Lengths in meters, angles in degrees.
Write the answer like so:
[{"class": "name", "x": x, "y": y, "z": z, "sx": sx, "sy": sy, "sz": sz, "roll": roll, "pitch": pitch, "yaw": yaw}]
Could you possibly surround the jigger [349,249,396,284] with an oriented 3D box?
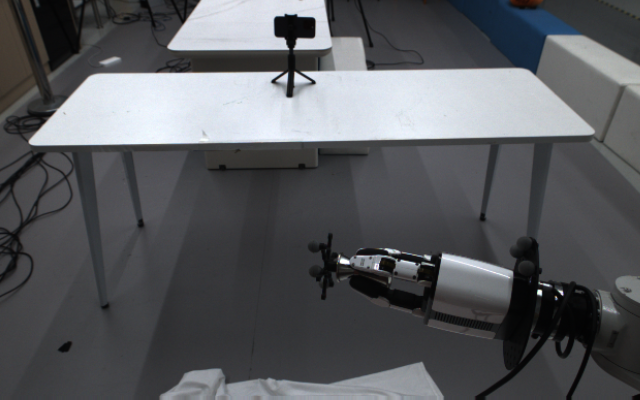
[{"class": "jigger", "x": 0.066, "y": 0.087, "z": 0.634, "sx": 0.071, "sy": 0.043, "sz": 0.043, "roll": 2, "pitch": 34, "yaw": 15}]
